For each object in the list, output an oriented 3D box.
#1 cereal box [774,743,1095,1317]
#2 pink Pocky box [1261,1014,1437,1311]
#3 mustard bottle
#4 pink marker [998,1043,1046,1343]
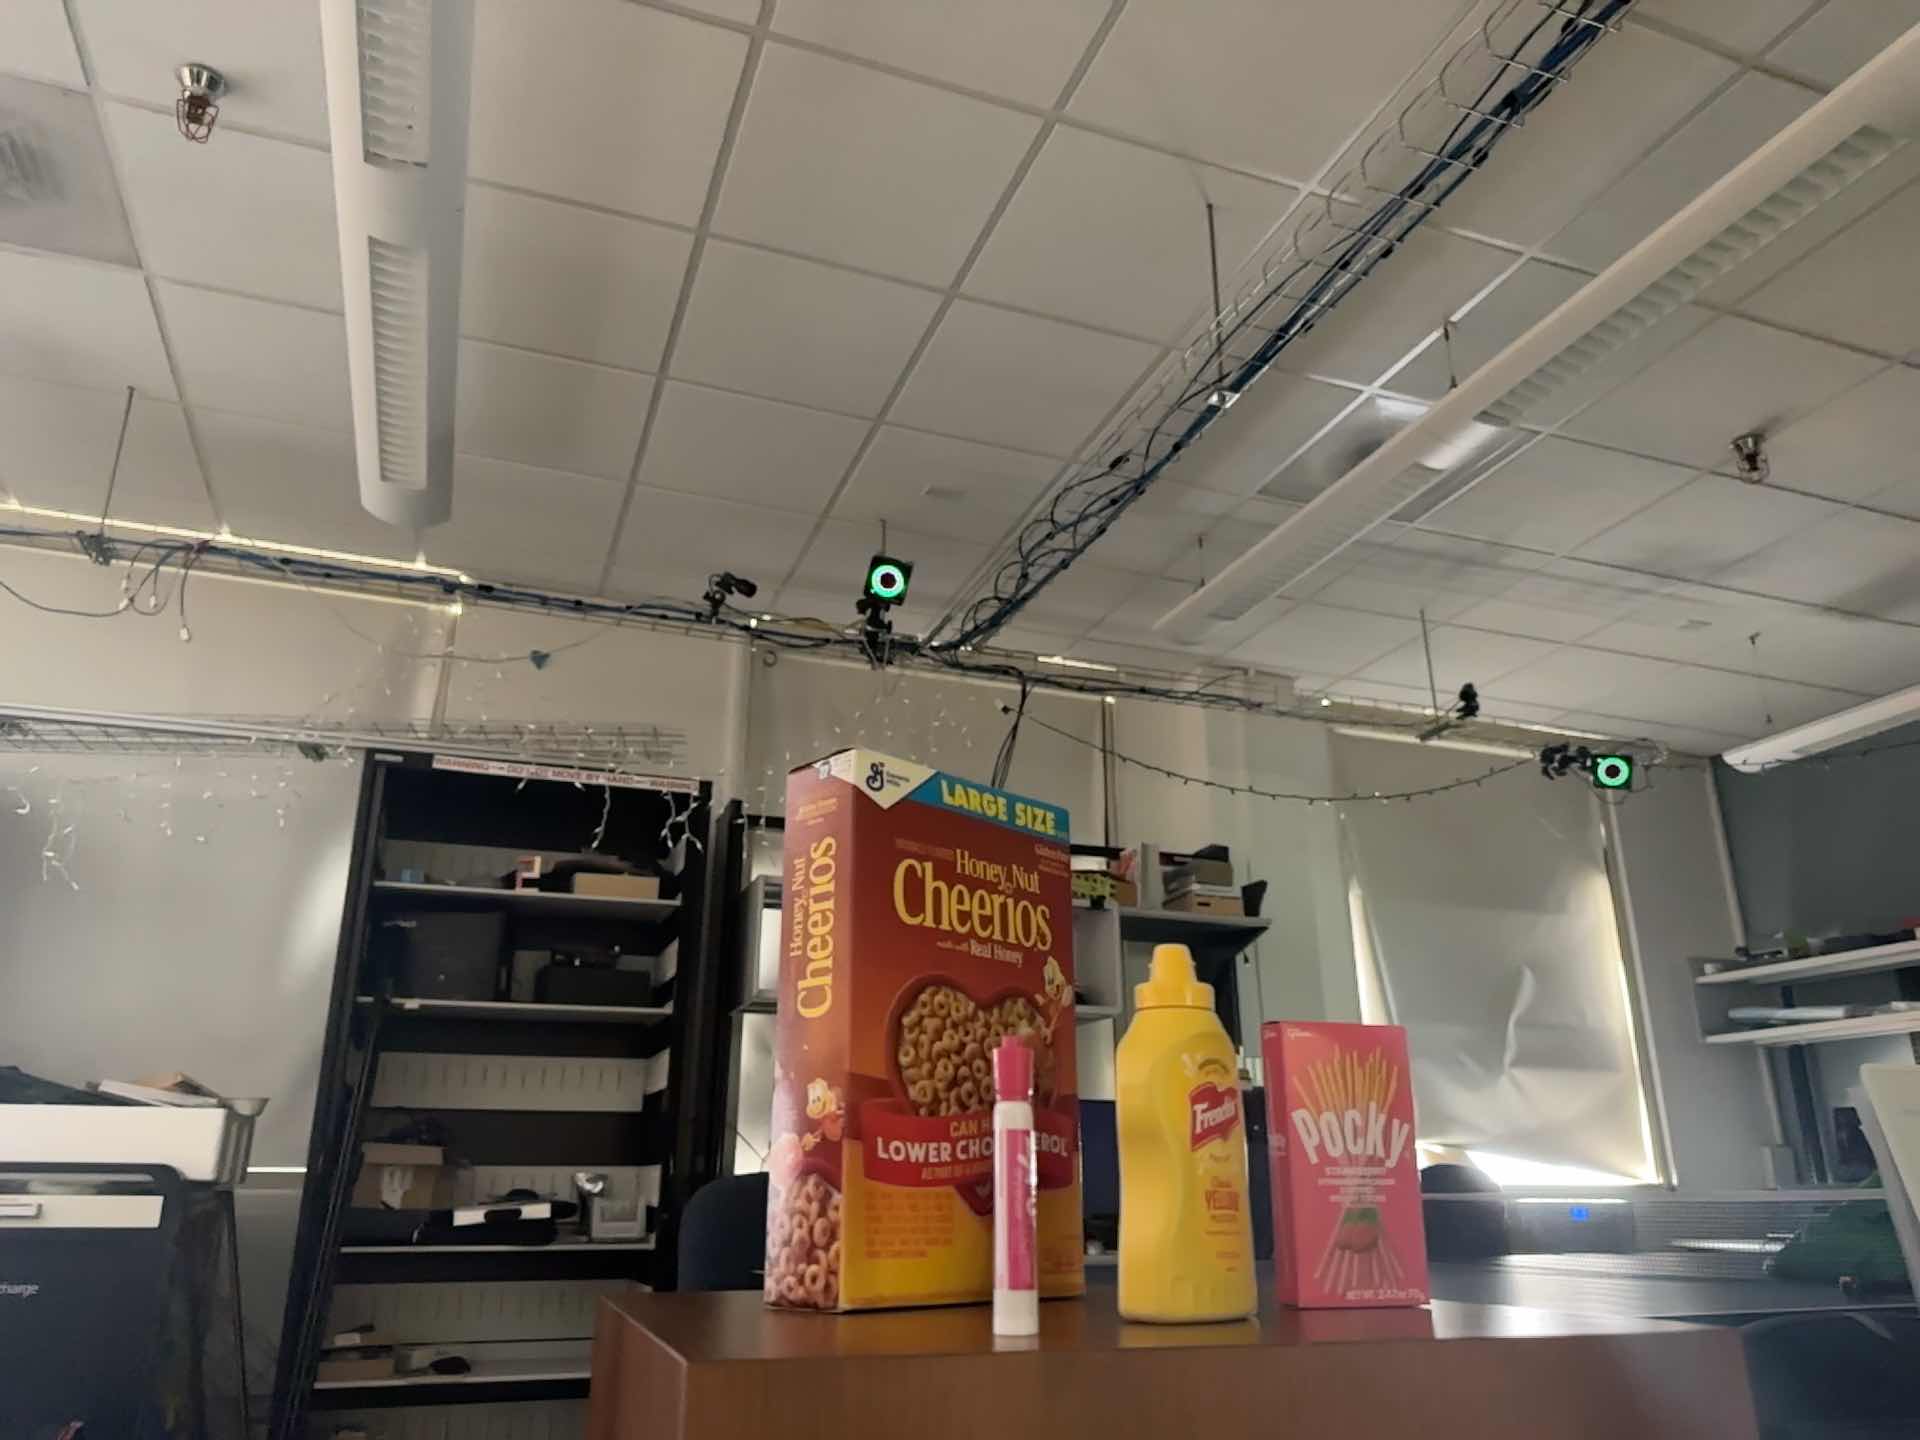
[{"bbox_3d":[-0.010,0.183,0.810,0.065,0.296,0.195,-15,-24,39],"label":"cereal box"},{"bbox_3d":[0.216,0.244,0.757,0.084,0.154,0.029,6,-18,-20],"label":"pink Pocky box"},{"bbox_3d":[0.111,0.201,0.675,0.092,0.184,0.054,16,-23,-42],"label":"mustard bottle"},{"bbox_3d":[0.026,0.201,0.583,0.020,0.121,0.020,0,-19,0],"label":"pink marker"}]
